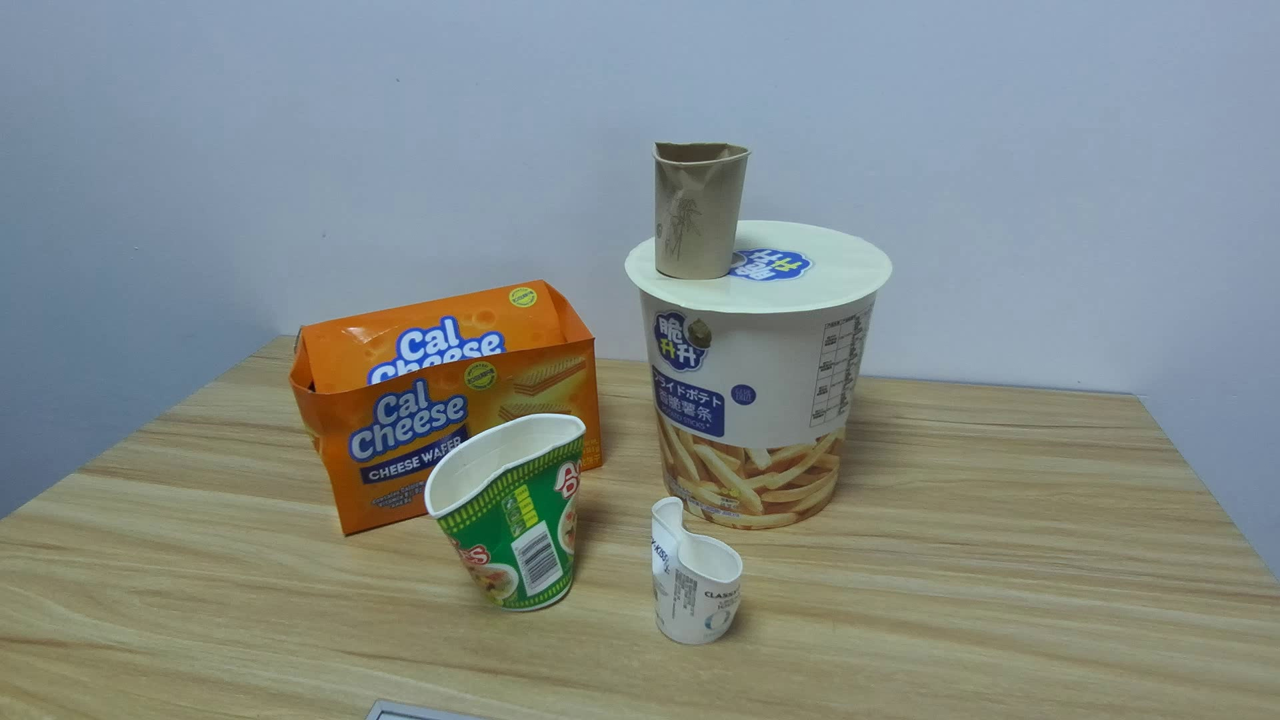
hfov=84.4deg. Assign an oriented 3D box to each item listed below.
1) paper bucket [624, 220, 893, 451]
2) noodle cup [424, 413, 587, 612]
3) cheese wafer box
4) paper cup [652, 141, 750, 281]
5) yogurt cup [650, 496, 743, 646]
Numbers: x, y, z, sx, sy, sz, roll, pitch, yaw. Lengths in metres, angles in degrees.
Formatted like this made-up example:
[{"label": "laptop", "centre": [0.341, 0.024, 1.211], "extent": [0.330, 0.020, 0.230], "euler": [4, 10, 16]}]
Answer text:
[{"label": "paper bucket", "centre": [0.087, 0.011, 0.556], "extent": [0.198, 0.195, 0.198], "euler": [-2, 29, 1]}, {"label": "noodle cup", "centre": [-0.082, 0.107, 0.480], "extent": [0.115, 0.111, 0.070], "euler": [-14, 32, -23]}, {"label": "cheese wafer box", "centre": [-0.163, 0.034, 0.613], "extent": [0.231, 0.132, 0.151], "euler": [-12, 31, -19]}, {"label": "paper cup", "centre": [0.042, -0.102, 0.483], "extent": [0.072, 0.084, 0.066], "euler": [-7, 30, -16]}, {"label": "yogurt cup", "centre": [0.036, 0.138, 0.454], "extent": [0.075, 0.071, 0.054], "euler": [17, 34, 32]}]
